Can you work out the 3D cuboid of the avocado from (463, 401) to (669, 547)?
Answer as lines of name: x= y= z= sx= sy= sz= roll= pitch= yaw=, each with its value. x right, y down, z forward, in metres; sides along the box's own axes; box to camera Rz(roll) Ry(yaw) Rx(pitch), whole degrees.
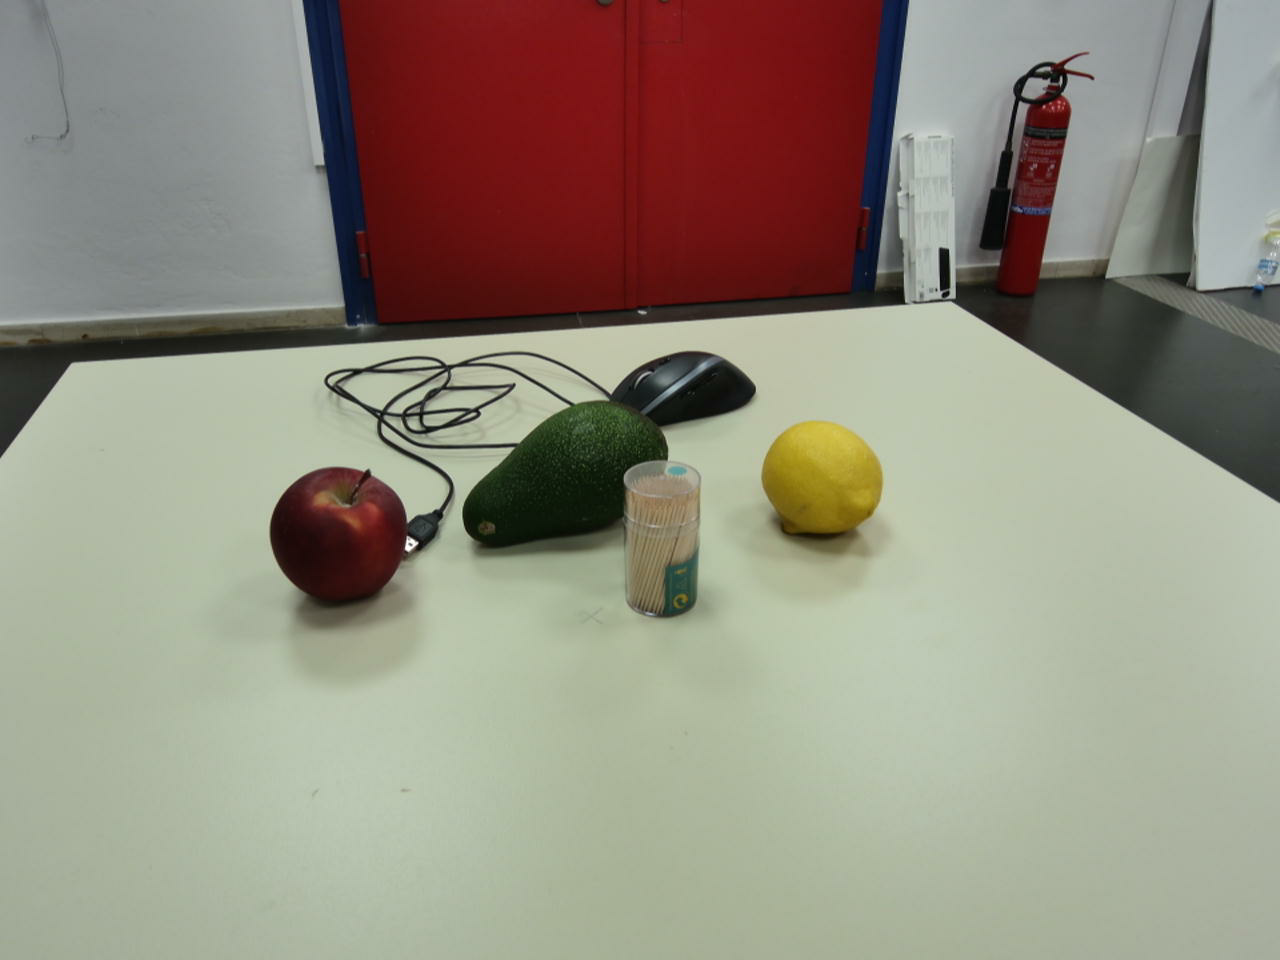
avocado: x=-0.044 y=-0.009 z=0.588 sx=0.123 sy=0.076 sz=0.074 roll=-3 pitch=27 yaw=-6
